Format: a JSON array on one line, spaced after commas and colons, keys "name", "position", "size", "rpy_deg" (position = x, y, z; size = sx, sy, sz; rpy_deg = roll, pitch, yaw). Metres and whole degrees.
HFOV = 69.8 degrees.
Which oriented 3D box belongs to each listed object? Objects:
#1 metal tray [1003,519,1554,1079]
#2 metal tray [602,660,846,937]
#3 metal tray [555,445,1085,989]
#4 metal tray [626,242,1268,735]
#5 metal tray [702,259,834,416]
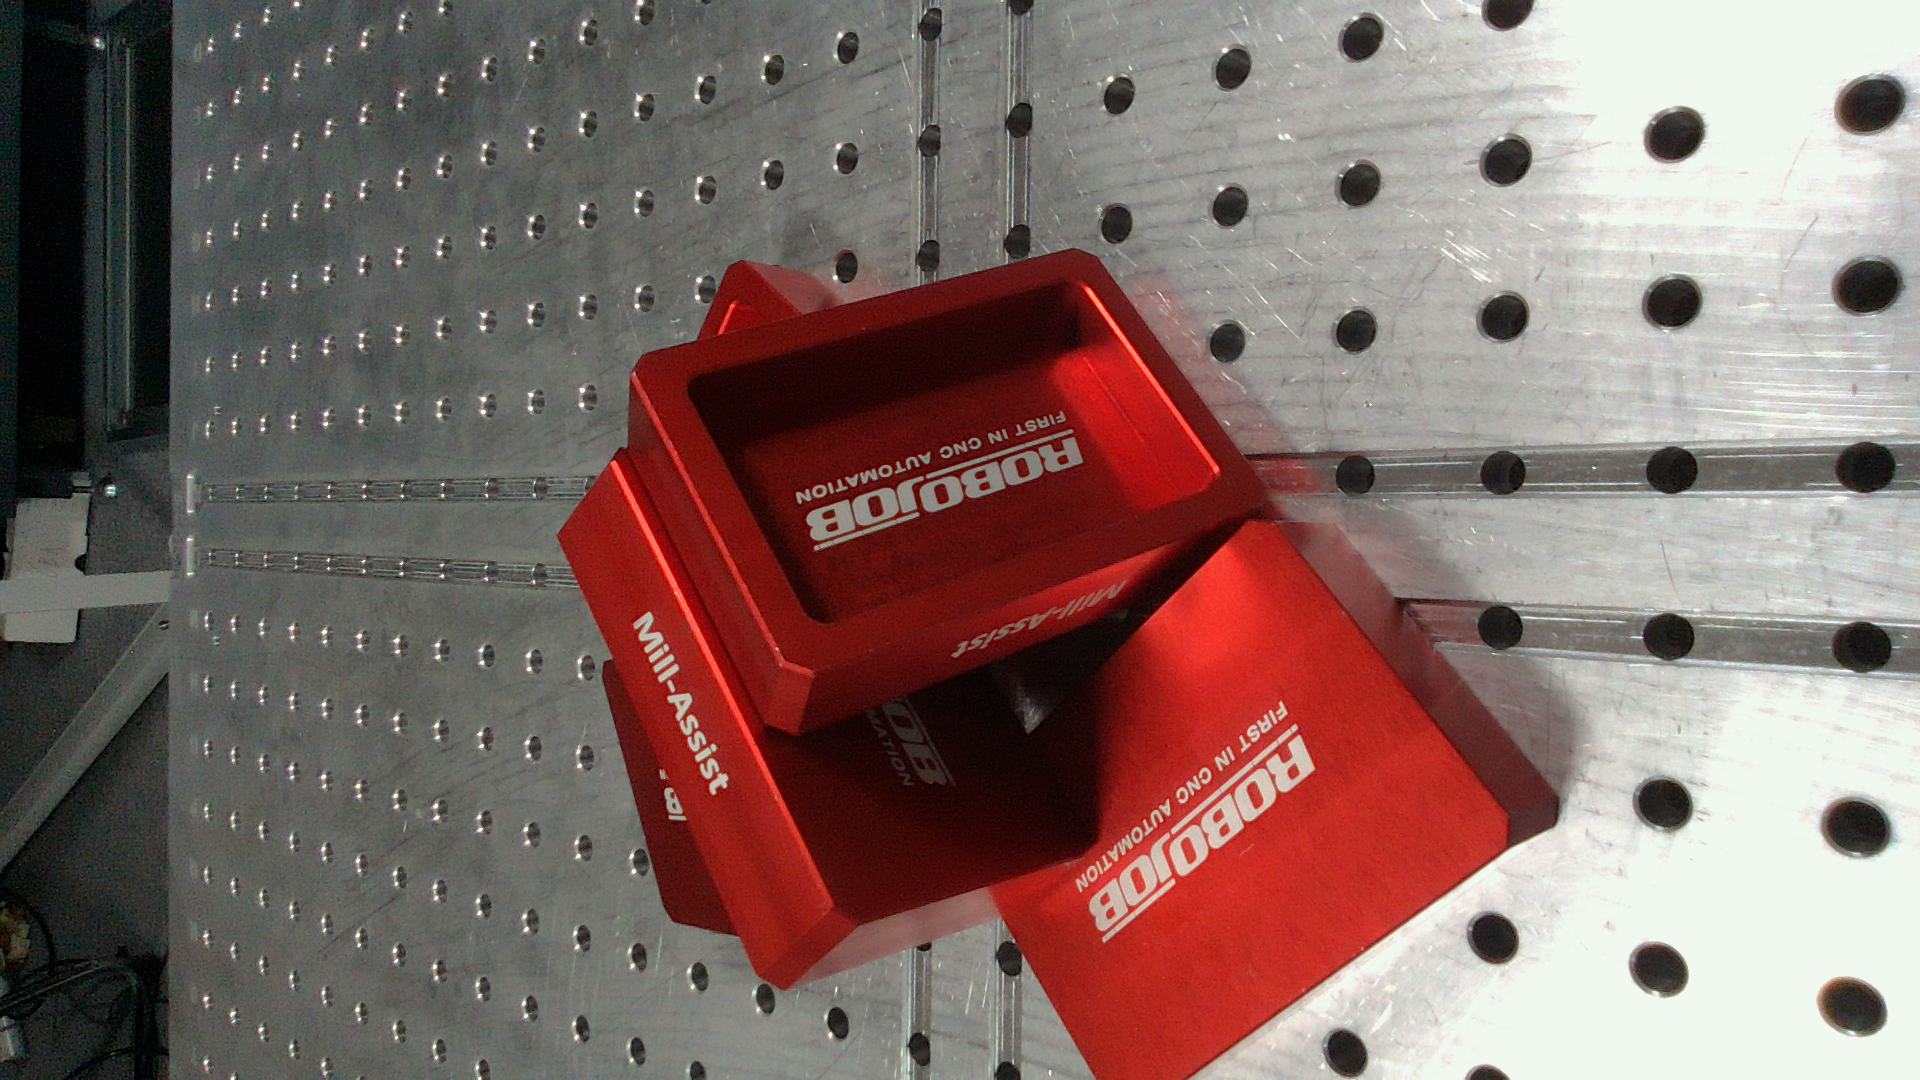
[{"name": "metal tray", "position": [0.064, 0.068, 0.339], "size": [0.130, 0.030, 0.090], "rpy_deg": [-49, 61, 29]}, {"name": "metal tray", "position": [-0.061, 0.073, 0.415], "size": [0.129, 0.030, 0.090], "rpy_deg": [-13, 92, 54]}, {"name": "metal tray", "position": [-0.034, 0.037, 0.344], "size": [0.030, 0.090, 0.130], "rpy_deg": [-46, 63, 30]}, {"name": "metal tray", "position": [-0.003, -0.018, 0.332], "size": [0.090, 0.130, 0.030], "rpy_deg": [59, 152, 24]}, {"name": "metal tray", "position": [-0.043, -0.017, 0.430], "size": [0.130, 0.030, 0.090], "rpy_deg": [43, 116, 31]}]
